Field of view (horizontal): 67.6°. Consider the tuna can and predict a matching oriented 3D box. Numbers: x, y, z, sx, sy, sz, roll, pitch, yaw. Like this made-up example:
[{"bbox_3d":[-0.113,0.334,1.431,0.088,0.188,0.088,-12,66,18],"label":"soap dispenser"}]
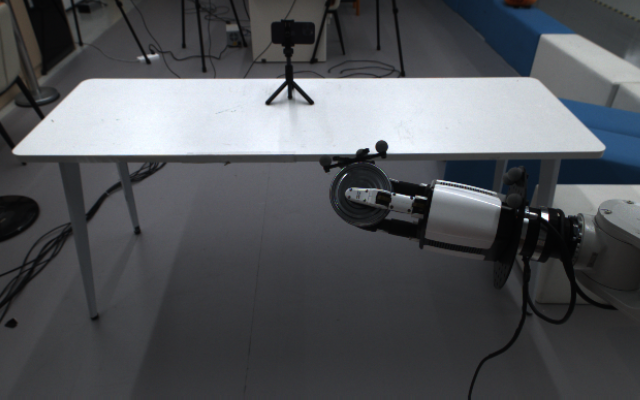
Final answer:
[{"bbox_3d":[0.061,-0.002,0.652,0.085,0.085,0.034,12,-6,14],"label":"tuna can"}]
